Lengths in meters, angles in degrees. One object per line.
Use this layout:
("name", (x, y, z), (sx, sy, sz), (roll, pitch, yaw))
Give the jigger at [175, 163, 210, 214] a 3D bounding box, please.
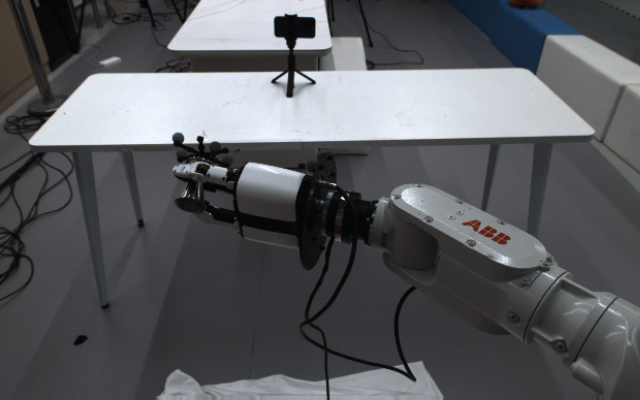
("jigger", (-0.178, -0.024, 0.685), (0.043, 0.043, 0.071), (4, 61, 2))
